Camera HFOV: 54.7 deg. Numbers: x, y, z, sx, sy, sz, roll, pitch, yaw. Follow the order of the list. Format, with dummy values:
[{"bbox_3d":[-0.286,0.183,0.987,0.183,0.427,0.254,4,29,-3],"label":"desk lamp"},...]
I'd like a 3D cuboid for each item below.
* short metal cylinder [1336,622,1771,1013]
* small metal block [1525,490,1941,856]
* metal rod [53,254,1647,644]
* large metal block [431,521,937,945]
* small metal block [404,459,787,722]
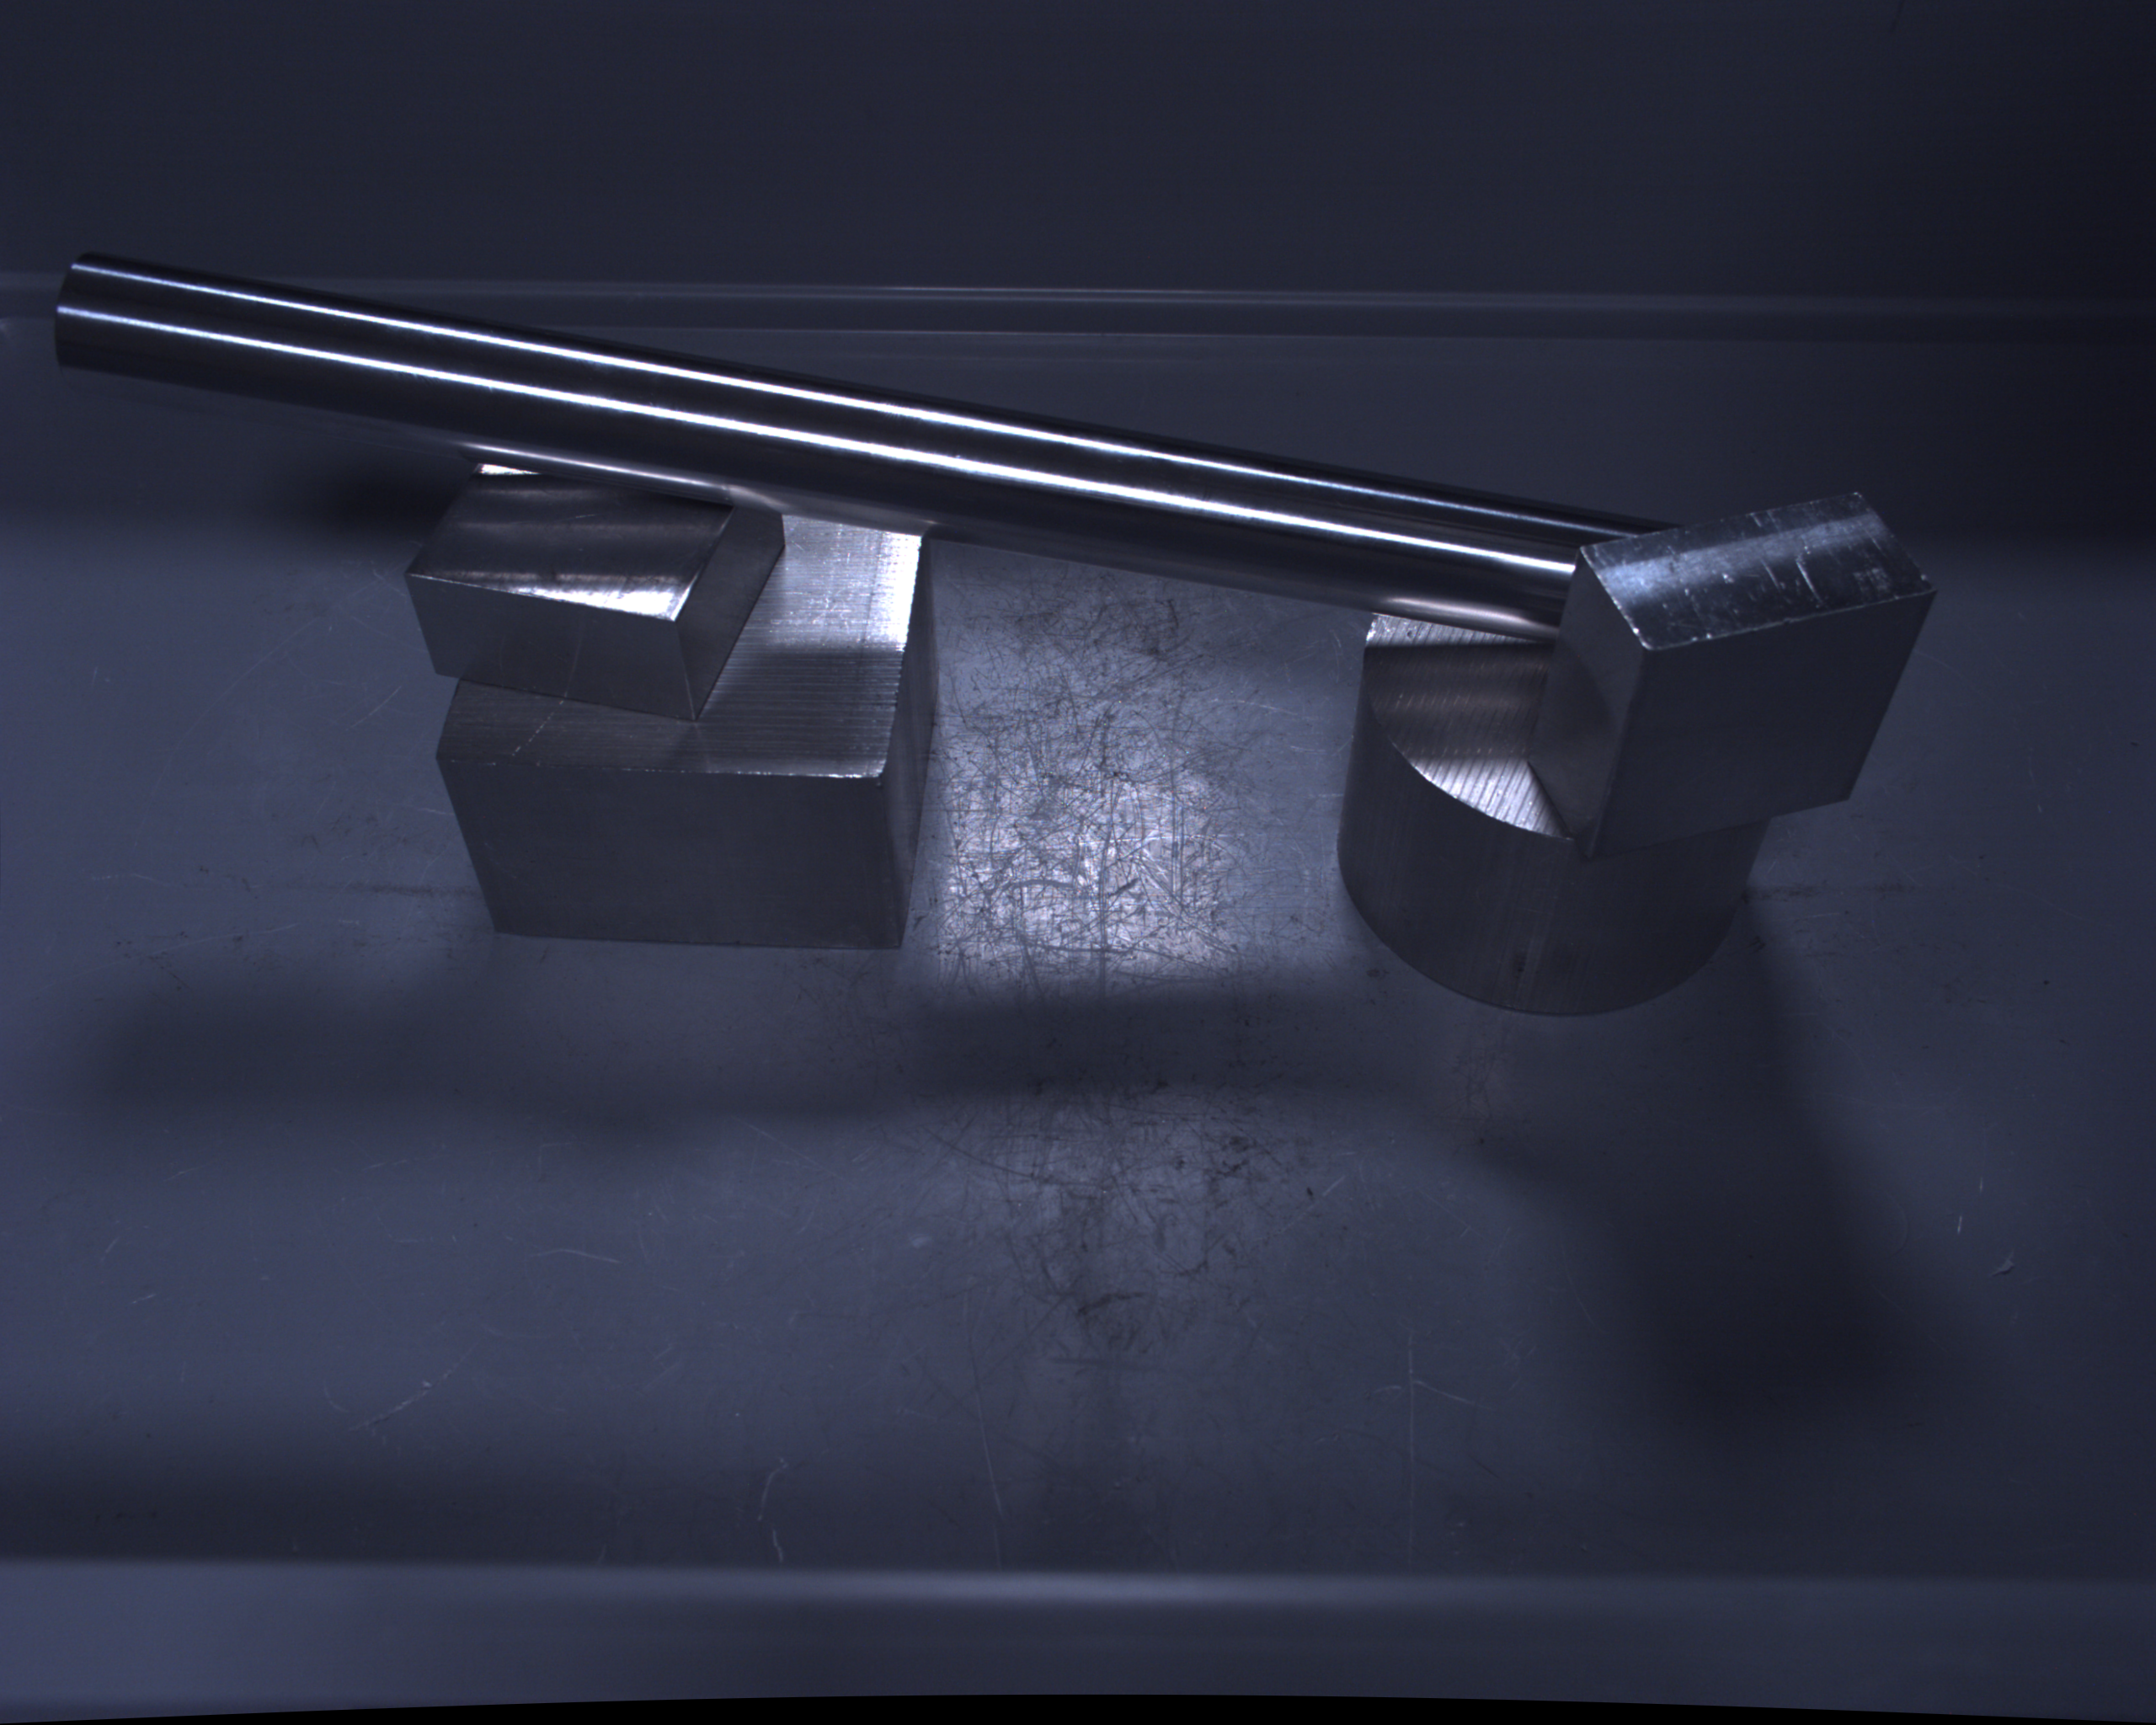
[{"bbox_3d":[0.093,-0.018,0.403,0.081,0.050,0.080,0,50,0],"label":"short metal cylinder"},{"bbox_3d":[0.107,-0.031,0.348,0.050,0.050,0.025,-11,51,-10],"label":"small metal block"},{"bbox_3d":[-0.023,-0.069,0.369,0.302,0.025,0.025,9,50,-3],"label":"metal rod"},{"bbox_3d":[-0.072,-0.032,0.411,0.081,0.050,0.080,2,50,1],"label":"large metal block"},{"bbox_3d":[-0.087,-0.056,0.384,0.050,0.025,0.050,10,50,8],"label":"small metal block"}]
